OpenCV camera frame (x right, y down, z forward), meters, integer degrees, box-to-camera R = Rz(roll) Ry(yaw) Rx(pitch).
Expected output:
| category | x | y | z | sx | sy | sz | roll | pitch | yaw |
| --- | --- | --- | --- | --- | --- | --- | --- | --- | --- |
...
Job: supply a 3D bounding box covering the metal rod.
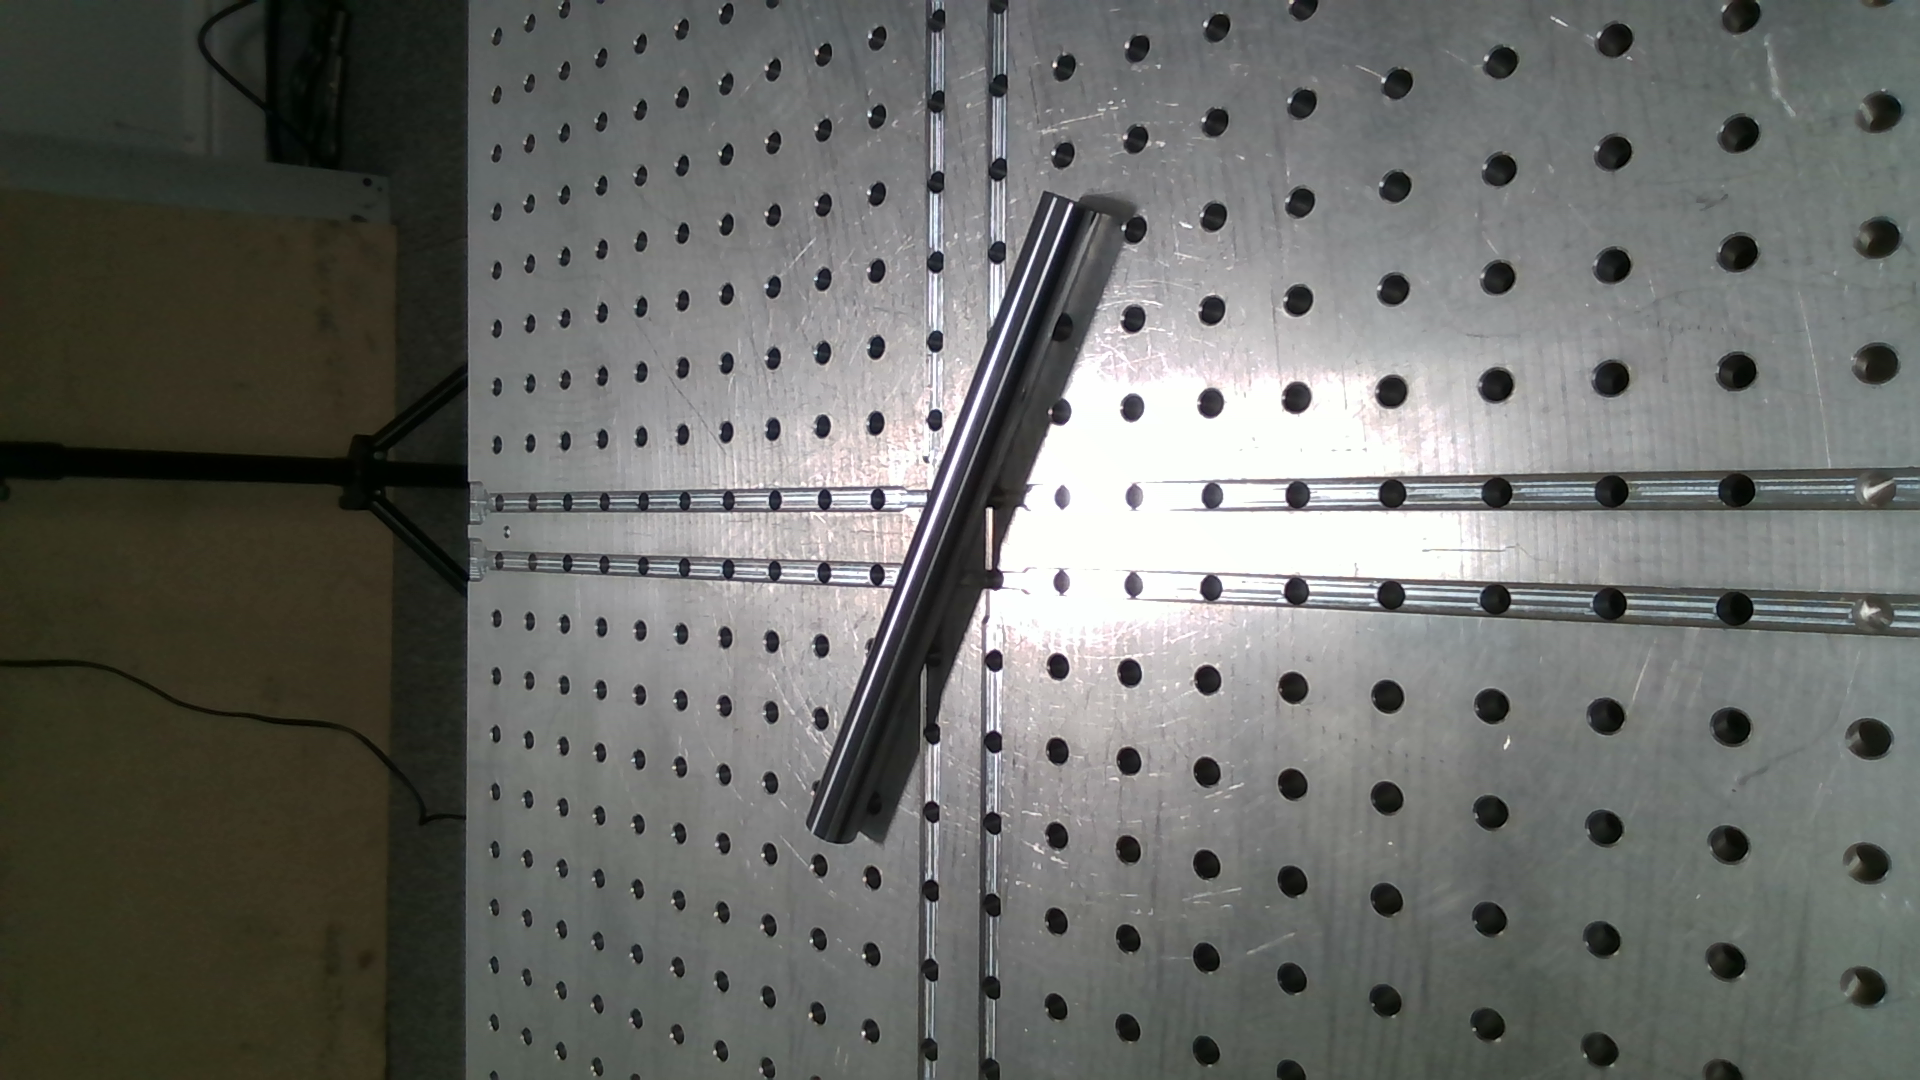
| category | x | y | z | sx | sy | sz | roll | pitch | yaw |
| --- | --- | --- | --- | --- | --- | --- | --- | --- | --- |
| metal rod | -0.007 | -0.001 | 0.592 | 0.025 | 0.025 | 0.300 | 34 | 112 | 35 |
